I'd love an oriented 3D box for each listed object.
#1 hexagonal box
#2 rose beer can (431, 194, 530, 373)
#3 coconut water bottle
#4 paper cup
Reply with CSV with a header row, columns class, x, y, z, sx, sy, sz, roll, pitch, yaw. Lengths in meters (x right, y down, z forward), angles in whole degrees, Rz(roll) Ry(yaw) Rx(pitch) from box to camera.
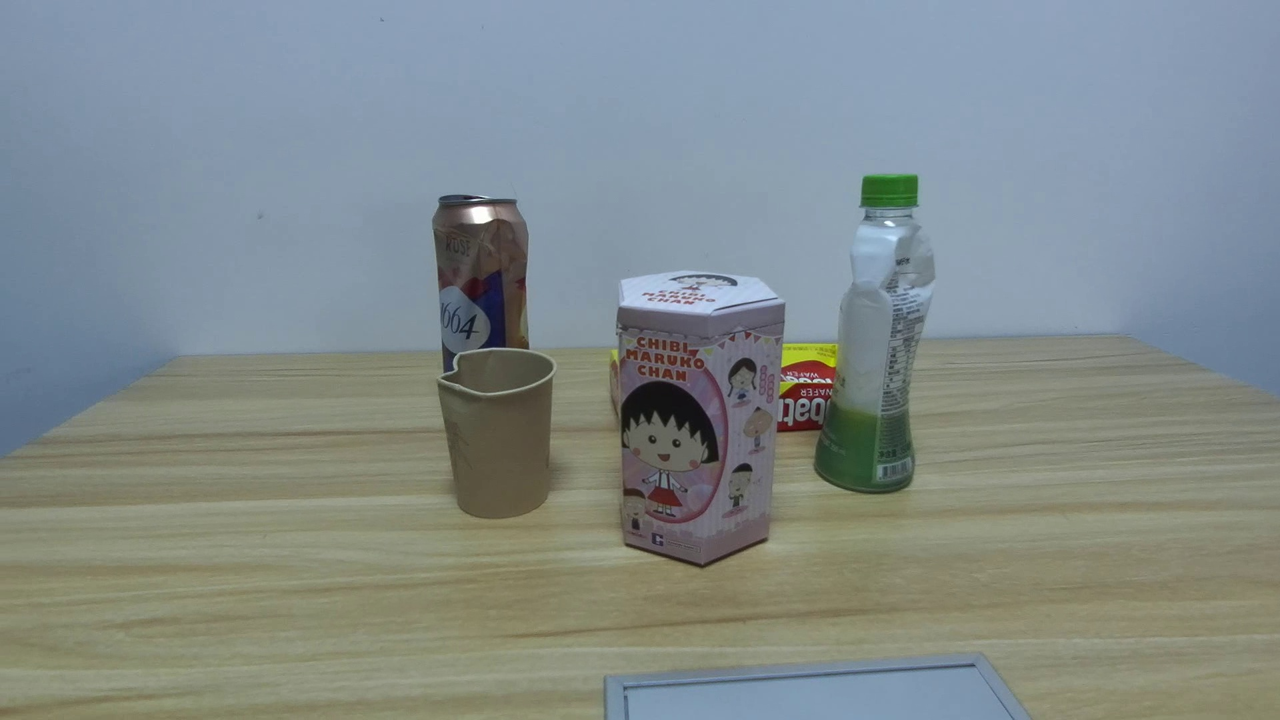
class,x,y,z,sx,sy,sz,roll,pitch,yaw
hexagonal box,0.029,0.028,0.377,0.091,0.136,0.084,9,21,25
rose beer can,-0.113,-0.034,0.521,0.065,0.167,0.075,-7,16,-29
coconut water bottle,0.144,-0.016,0.429,0.067,0.187,0.067,0,17,0
paper cup,-0.082,0.043,0.418,0.073,0.081,0.069,12,21,30
